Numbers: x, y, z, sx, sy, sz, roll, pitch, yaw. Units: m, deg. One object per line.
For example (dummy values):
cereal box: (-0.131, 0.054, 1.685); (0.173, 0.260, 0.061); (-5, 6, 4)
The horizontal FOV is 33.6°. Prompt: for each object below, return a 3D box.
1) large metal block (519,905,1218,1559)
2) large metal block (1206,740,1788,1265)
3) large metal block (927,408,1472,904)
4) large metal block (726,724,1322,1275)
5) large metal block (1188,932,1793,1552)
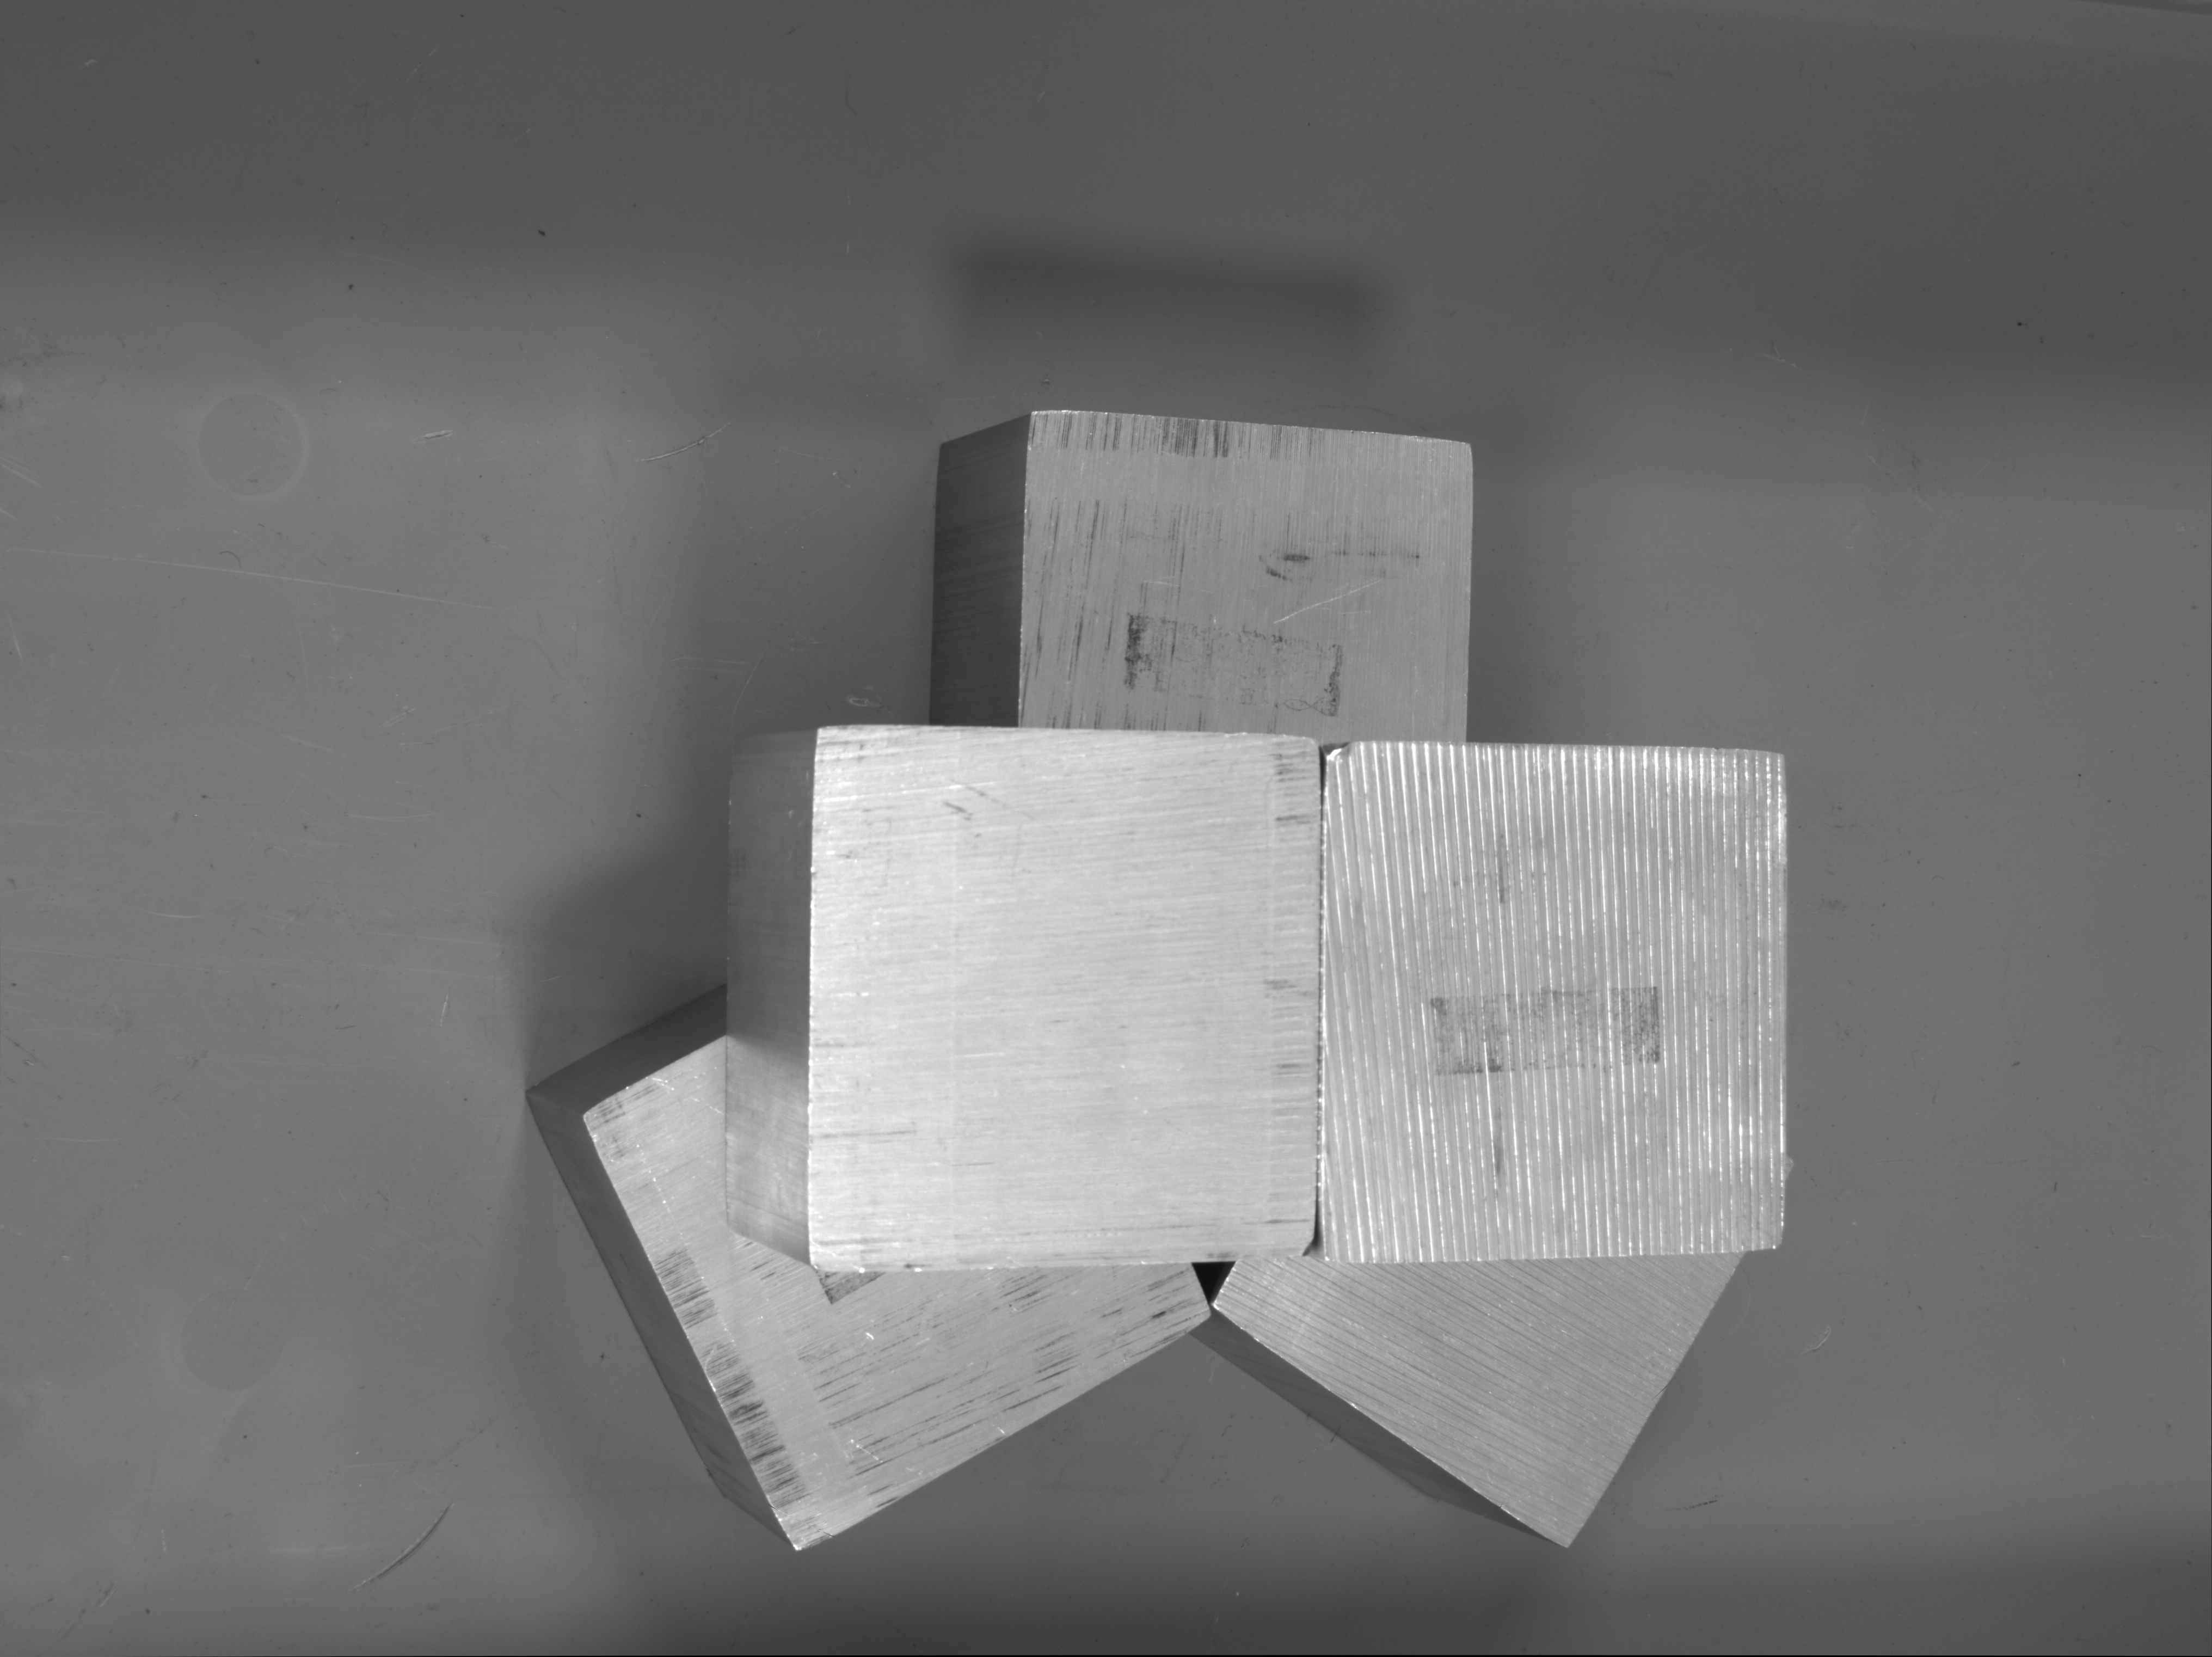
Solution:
large metal block: (-0.040, 0.063, 0.614); (0.080, 0.050, 0.080); (-27, 99, -18)
large metal block: (0.062, 0.027, 0.596); (0.080, 0.050, 0.080); (1, 90, -20)
large metal block: (0.015, -0.027, 0.634); (0.080, 0.050, 0.080); (2, 89, -20)
large metal block: (-0.014, 0.026, 0.570); (0.080, 0.050, 0.080); (1, 90, -20)
large metal block: (0.060, 0.069, 0.649); (0.080, 0.050, 0.080); (36, 79, -16)
